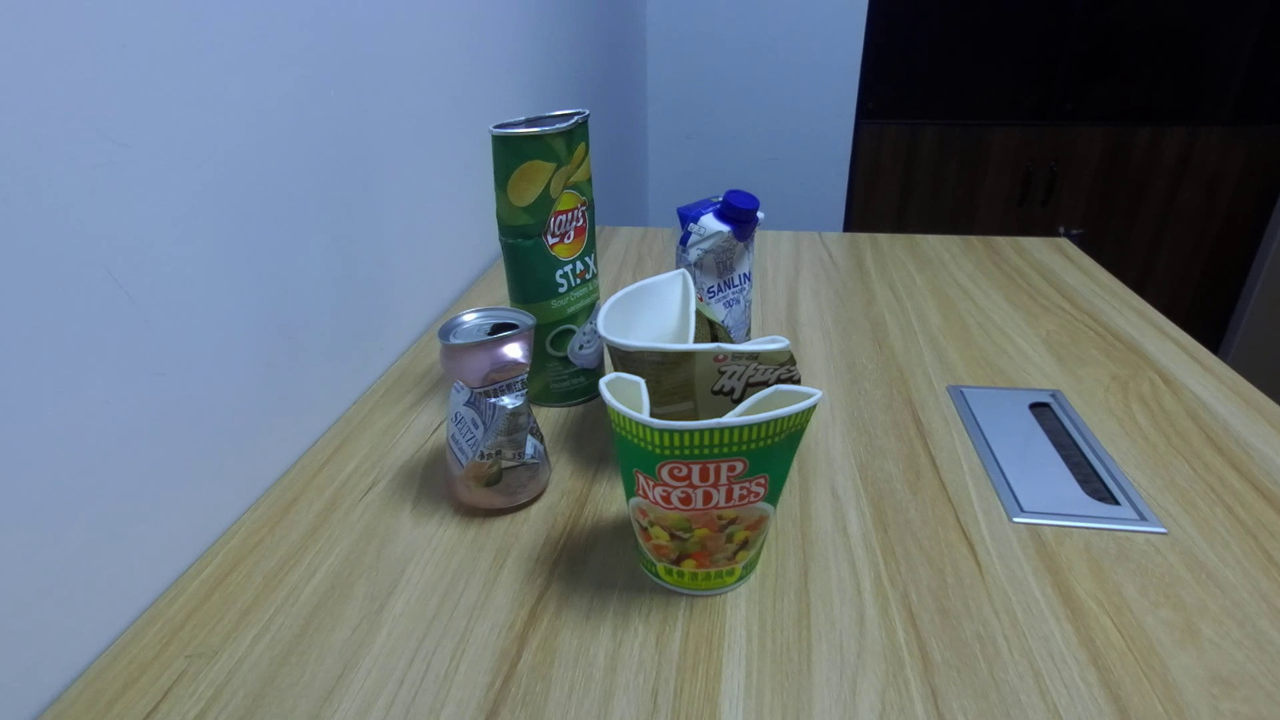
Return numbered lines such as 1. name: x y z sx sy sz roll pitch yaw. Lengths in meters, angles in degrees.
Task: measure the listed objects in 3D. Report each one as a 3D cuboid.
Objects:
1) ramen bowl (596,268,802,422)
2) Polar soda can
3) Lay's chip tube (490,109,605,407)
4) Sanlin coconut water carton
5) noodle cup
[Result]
1. ramen bowl: 0.039 0.006 0.471 0.137 0.098 0.137 -1 26 1
2. Polar soda can: -0.088 0.029 0.422 0.074 0.114 0.070 11 24 18
3. Lay's chip tube: -0.062 -0.069 0.510 0.069 0.199 0.074 -5 27 -7
4. Sanlin coconut water carton: 0.061 -0.066 0.563 0.057 0.142 0.078 28 39 35
5. noodle cup: 0.029 0.055 0.355 0.082 0.122 0.075 32 49 32
